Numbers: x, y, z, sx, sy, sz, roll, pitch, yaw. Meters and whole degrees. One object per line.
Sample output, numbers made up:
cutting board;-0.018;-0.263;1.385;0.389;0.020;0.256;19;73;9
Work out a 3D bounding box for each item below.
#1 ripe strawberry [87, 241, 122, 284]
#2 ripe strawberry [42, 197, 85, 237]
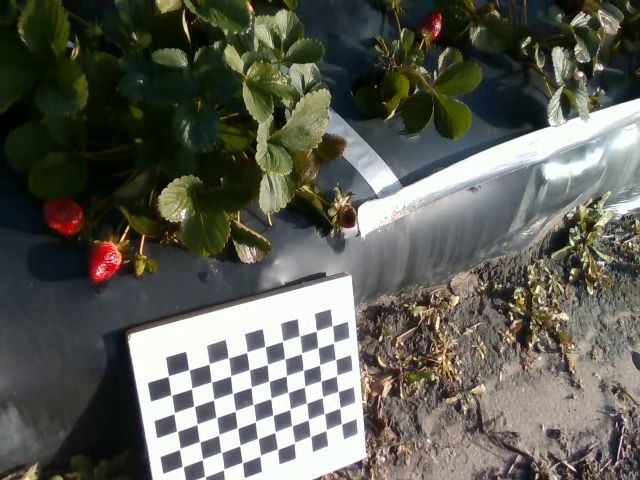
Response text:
ripe strawberry;-0.249;0.025;0.698;0.043;0.053;0.038;37;-50;-27
ripe strawberry;-0.295;-0.027;0.706;0.039;0.048;0.054;11;4;38
